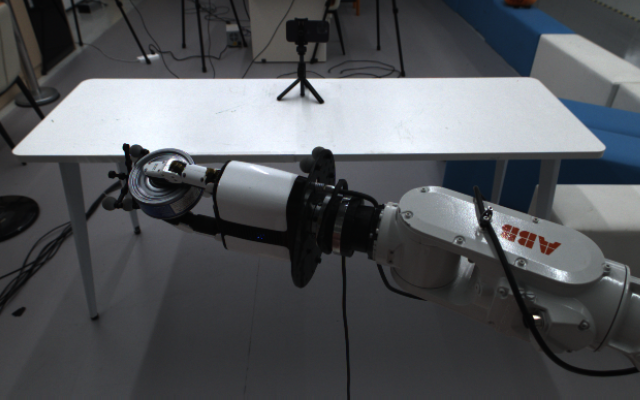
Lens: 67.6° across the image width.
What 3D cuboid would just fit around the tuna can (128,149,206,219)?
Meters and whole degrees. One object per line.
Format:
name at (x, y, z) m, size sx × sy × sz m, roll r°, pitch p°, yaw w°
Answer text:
tuna can at (-0.186, -0.021, 0.594) m, size 0.085 × 0.034 × 0.085 m, roll -2°, pitch 58°, yaw 3°
